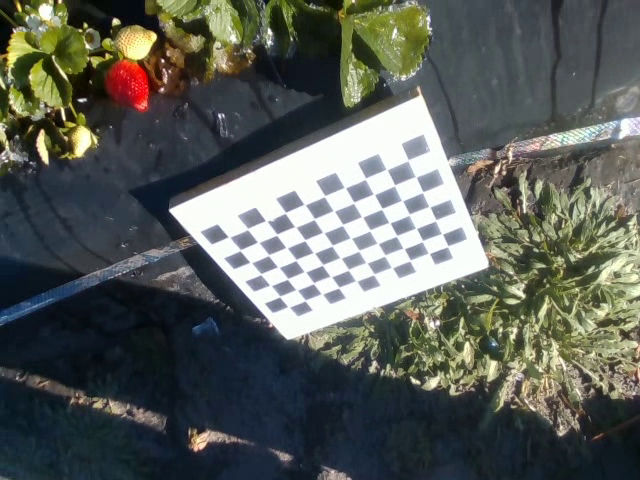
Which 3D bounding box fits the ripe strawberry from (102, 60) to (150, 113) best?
[{"bbox_3d":[-0.156,-0.123,0.503,0.042,0.040,0.053,-3,46,-43],"label":"ripe strawberry"}]
